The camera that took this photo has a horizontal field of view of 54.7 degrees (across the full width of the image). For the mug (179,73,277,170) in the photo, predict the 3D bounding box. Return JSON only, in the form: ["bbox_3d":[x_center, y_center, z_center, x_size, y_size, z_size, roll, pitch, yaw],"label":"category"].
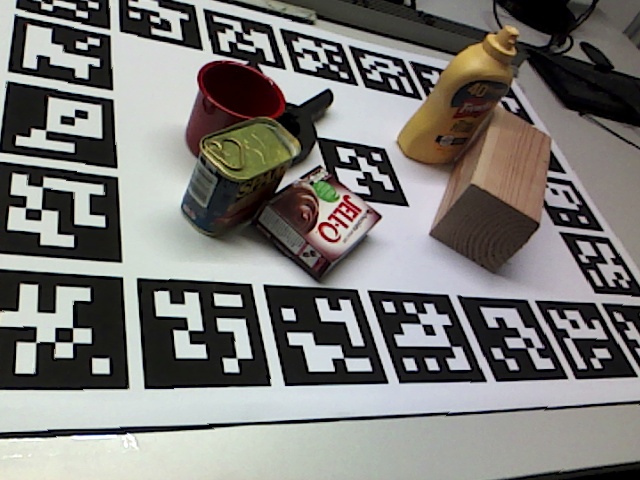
[{"bbox_3d":[-0.102,-0.127,0.675,0.093,0.081,0.117,22,46,-12],"label":"mug"}]

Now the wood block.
[{"bbox_3d":[0.219,-0.067,0.777,0.090,0.091,0.206,31,41,0],"label":"wood block"}]

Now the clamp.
[{"bbox_3d":[-0.041,-0.149,0.738,0.121,0.036,0.165,21,46,-15],"label":"clamp"}]

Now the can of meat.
[{"bbox_3d":[-0.075,-0.060,0.588,0.058,0.084,0.101,48,45,14],"label":"can of meat"}]

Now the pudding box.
[{"bbox_3d":[0.005,-0.019,0.639,0.090,0.039,0.113,41,42,8],"label":"pudding box"}]

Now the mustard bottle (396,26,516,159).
[{"bbox_3d":[0.181,-0.186,0.780,0.095,0.192,0.059,0,53,-30],"label":"mustard bottle"}]
